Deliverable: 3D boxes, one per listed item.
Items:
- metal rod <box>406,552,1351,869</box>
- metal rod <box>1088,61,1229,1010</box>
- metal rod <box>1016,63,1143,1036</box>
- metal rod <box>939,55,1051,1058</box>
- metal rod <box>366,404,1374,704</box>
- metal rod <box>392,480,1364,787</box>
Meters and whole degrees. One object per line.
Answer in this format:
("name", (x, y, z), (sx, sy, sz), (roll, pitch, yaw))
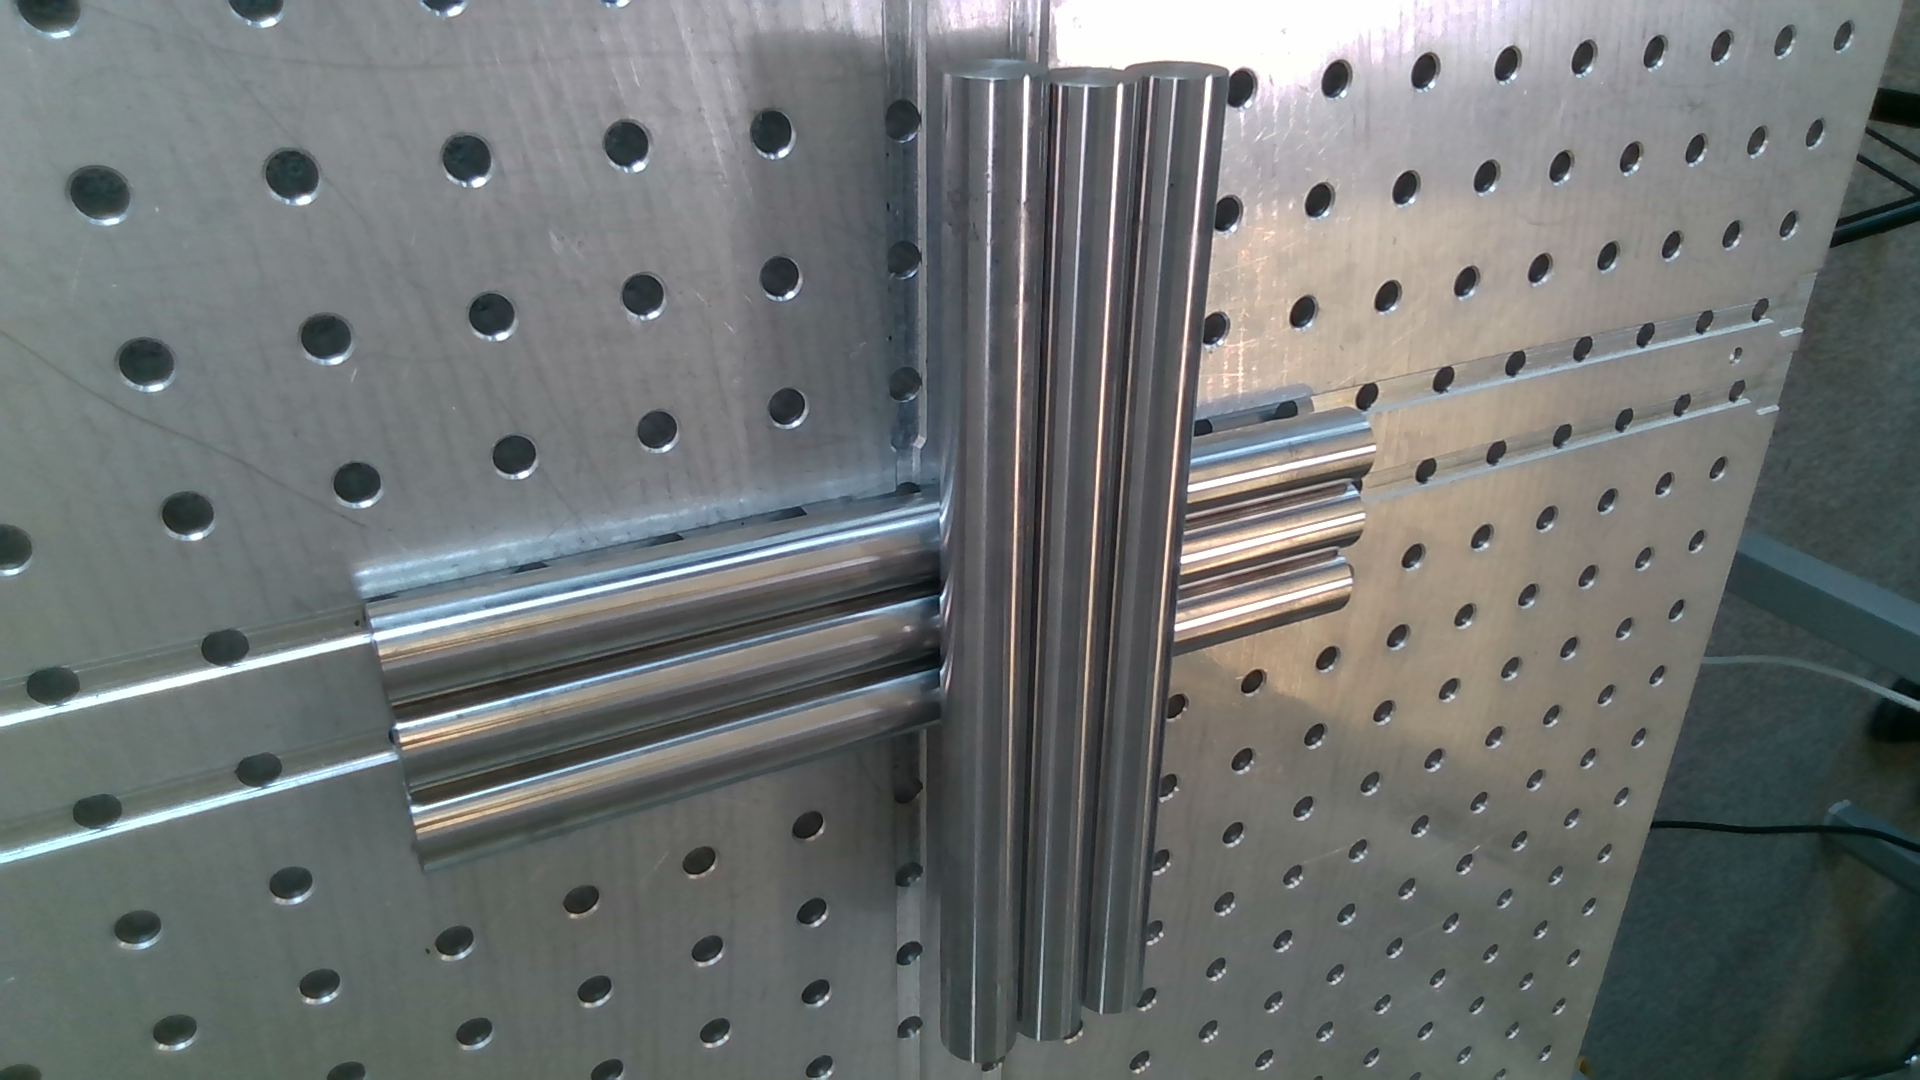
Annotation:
("metal rod", (-0.006, 0.041, 0.411), (0.300, 0.025, 0.025), (-13, 121, -26))
("metal rod", (0.051, 0.019, 0.401), (0.025, 0.025, 0.301), (-14, 121, -25))
("metal rod", (0.029, 0.024, 0.390), (0.025, 0.025, 0.301), (-14, 121, -25))
("metal rod", (0.007, 0.026, 0.378), (0.025, 0.025, 0.301), (-14, 121, -25))
("metal rod", (-0.005, -0.003, 0.387), (0.300, 0.025, 0.025), (-13, 121, -26))
("metal rod", (-0.004, 0.018, 0.399), (0.300, 0.025, 0.025), (-13, 121, -26))
